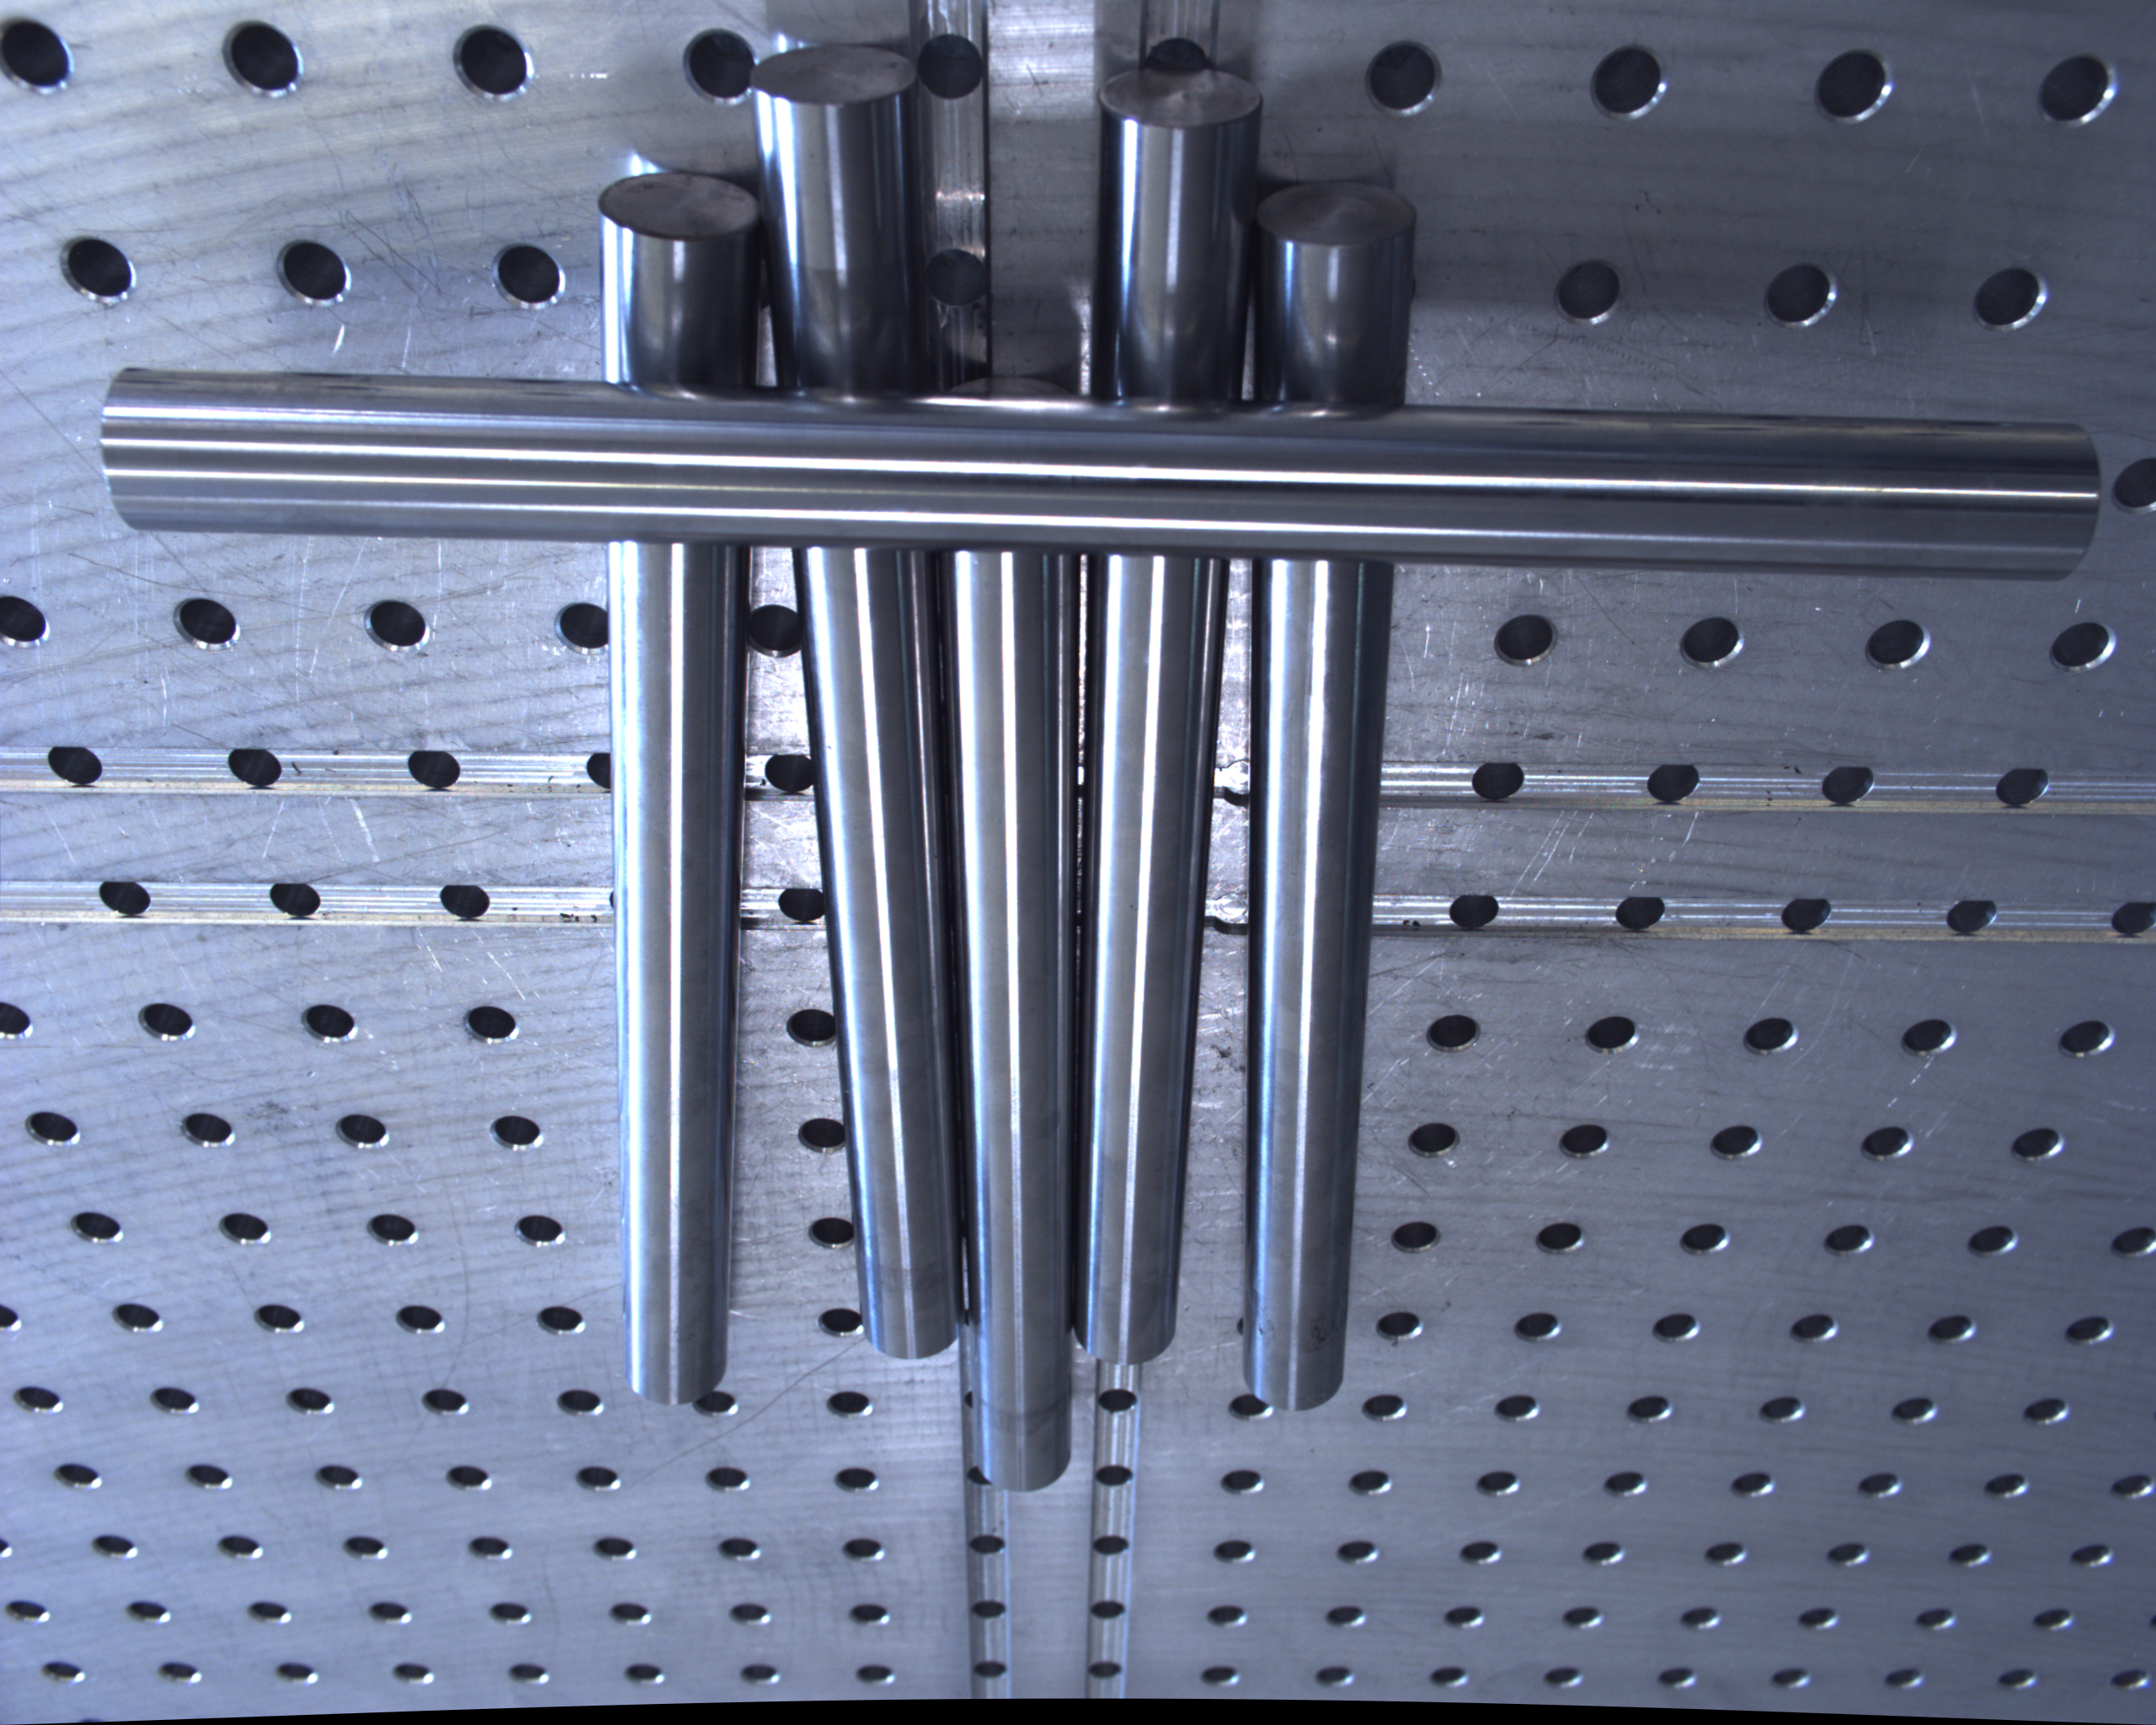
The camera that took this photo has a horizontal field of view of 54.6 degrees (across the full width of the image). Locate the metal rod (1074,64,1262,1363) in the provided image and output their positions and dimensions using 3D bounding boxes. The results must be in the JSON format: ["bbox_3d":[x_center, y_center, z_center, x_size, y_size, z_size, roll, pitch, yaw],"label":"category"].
[{"bbox_3d":[0.013,-0.002,0.411,0.025,0.025,0.298,0,130,-1],"label":"metal rod"}]

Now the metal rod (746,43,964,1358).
[{"bbox_3d":[-0.038,-0.004,0.408,0.025,0.025,0.298,0,130,0],"label":"metal rod"}]

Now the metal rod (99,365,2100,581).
[{"bbox_3d":[0.005,-0.061,0.327,0.302,0.025,0.025,1,130,-2],"label":"metal rod"}]

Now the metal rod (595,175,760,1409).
[{"bbox_3d":[-0.081,0.011,0.419,0.025,0.025,0.298,5,130,-5],"label":"metal rod"}]

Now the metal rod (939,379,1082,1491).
[{"bbox_3d":[-0.013,0.039,0.444,0.025,0.025,0.298,0,131,-1],"label":"metal rod"}]

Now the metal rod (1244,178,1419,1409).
[{"bbox_3d":[0.047,0.012,0.422,0.025,0.025,0.298,-2,130,1],"label":"metal rod"}]
